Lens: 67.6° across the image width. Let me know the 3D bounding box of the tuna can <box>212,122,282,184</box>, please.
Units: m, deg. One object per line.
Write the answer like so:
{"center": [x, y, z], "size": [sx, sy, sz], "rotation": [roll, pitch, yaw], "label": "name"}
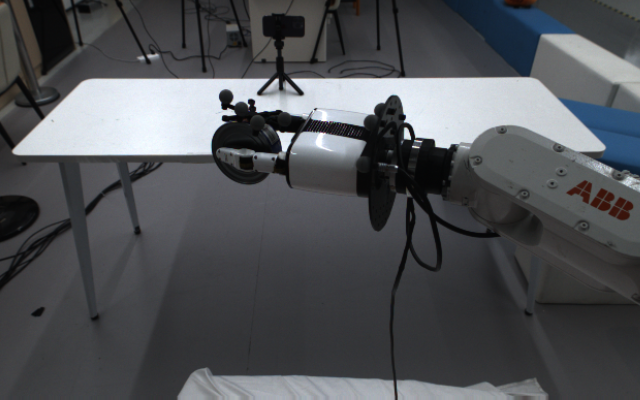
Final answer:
{"center": [-0.093, -0.065, 0.623], "size": [0.085, 0.085, 0.034], "rotation": [12, 30, 15], "label": "tuna can"}
